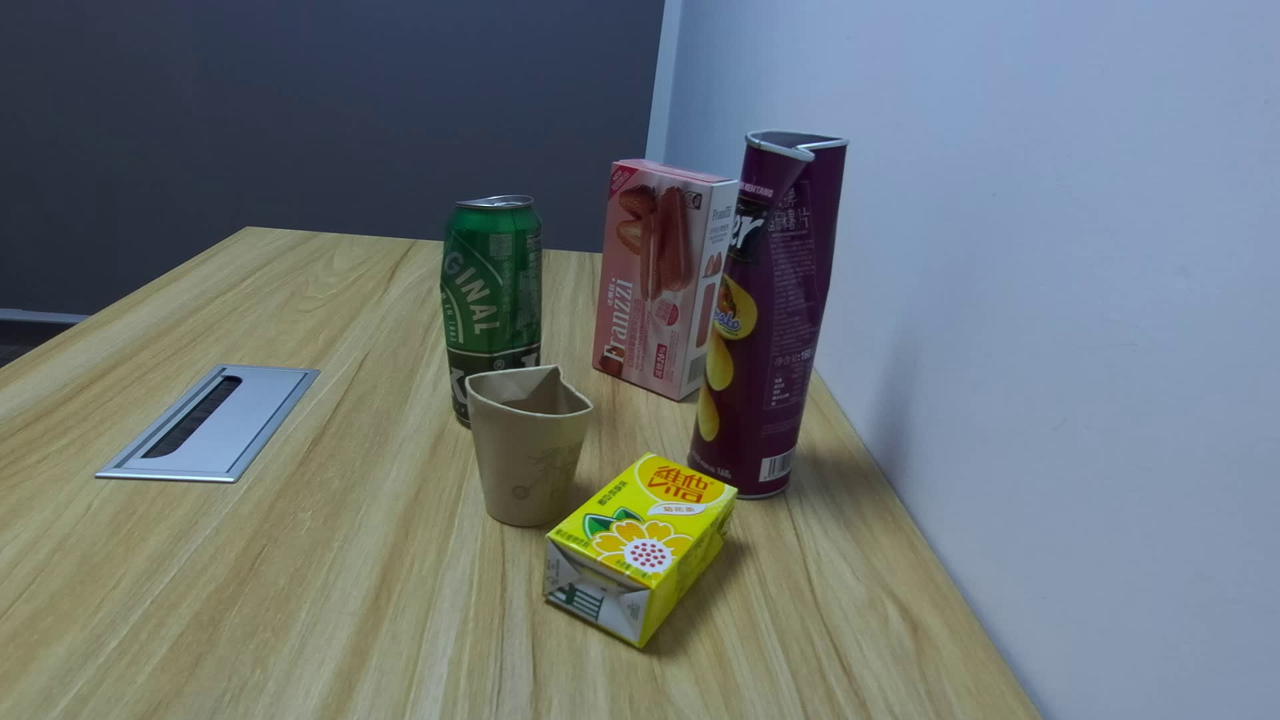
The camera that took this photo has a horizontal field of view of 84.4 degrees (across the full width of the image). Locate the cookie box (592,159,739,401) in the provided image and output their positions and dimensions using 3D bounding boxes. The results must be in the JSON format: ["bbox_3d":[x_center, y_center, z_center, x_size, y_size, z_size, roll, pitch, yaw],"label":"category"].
[{"bbox_3d":[0.017,-0.067,0.599,0.096,0.184,0.048,19,25,28],"label":"cookie box"}]

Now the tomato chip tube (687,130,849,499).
[{"bbox_3d":[0.085,-0.025,0.467,0.078,0.235,0.076,5,24,-4],"label":"tomato chip tube"}]

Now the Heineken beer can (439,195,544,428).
[{"bbox_3d":[-0.107,-0.034,0.527,0.068,0.168,0.069,1,20,-5],"label":"Heineken beer can"}]

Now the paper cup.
[{"bbox_3d":[-0.071,0.055,0.438,0.066,0.084,0.071,-6,26,-26],"label":"paper cup"}]

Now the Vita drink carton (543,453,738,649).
[{"bbox_3d":[0.004,0.102,0.402,0.066,0.043,0.109,20,27,24],"label":"Vita drink carton"}]
